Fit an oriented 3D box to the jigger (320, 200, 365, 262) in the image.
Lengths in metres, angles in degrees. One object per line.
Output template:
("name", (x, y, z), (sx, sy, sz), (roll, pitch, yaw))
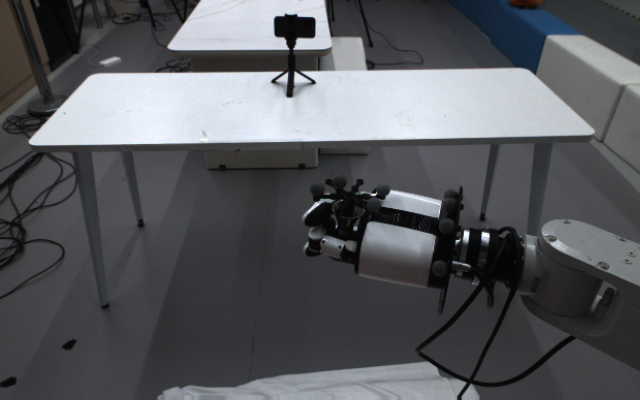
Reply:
("jigger", (0.036, 0.038, 0.616), (0.043, 0.071, 0.043), (4, 31, -2))
